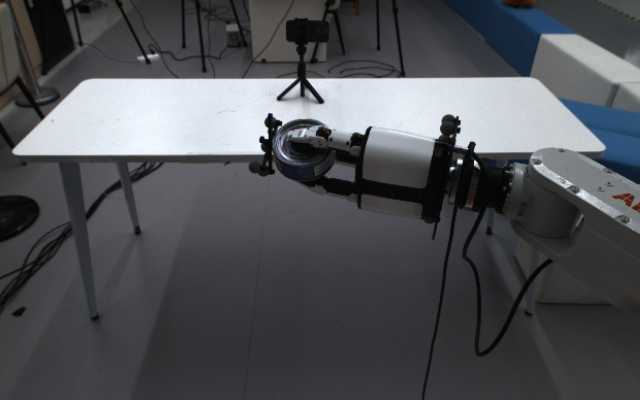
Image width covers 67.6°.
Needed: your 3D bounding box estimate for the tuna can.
[{"bbox_3d":[-0.020,-0.071,0.662,0.085,0.034,0.085,-2,57,3],"label":"tuna can"}]
